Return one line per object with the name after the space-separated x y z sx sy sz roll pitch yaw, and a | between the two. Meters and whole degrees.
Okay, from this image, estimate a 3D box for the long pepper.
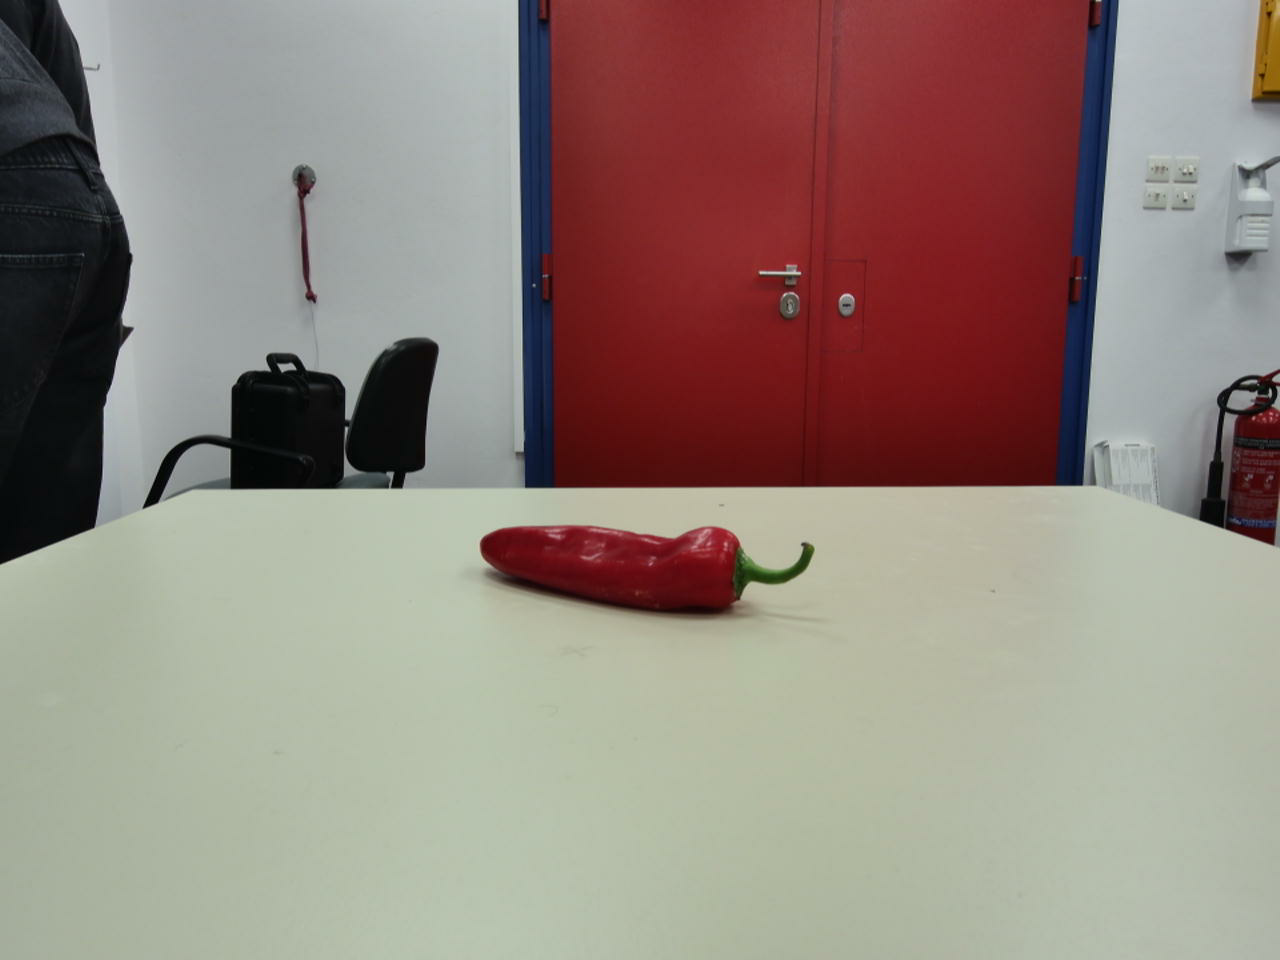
-0.010 0.043 0.541 0.211 0.043 0.050 4 8 31 | long pepper
